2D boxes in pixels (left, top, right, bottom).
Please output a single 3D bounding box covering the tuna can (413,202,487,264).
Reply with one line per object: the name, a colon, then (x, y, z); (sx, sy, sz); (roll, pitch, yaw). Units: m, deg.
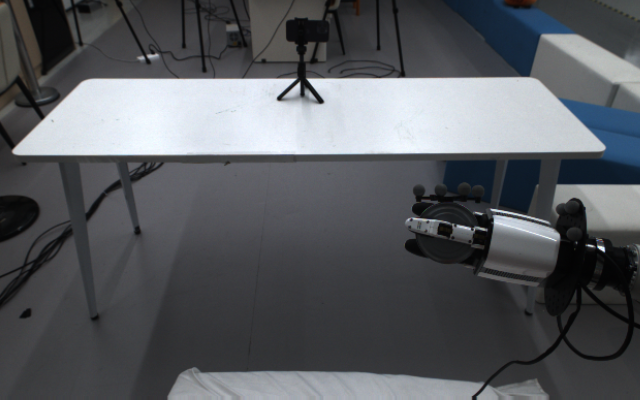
tuna can: (0.180, 0.043, 0.675); (0.085, 0.085, 0.034); (13, -1, 16)
